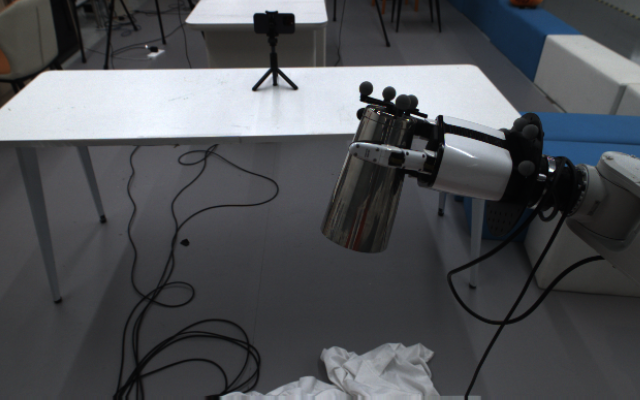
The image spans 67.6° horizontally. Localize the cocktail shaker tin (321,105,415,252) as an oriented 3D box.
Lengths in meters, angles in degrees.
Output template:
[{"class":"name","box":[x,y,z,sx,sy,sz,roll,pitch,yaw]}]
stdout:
[{"class":"cocktail shaker tin","box":[0.069,-0.032,0.621,0.093,0.170,0.093,13,19,-5]}]
